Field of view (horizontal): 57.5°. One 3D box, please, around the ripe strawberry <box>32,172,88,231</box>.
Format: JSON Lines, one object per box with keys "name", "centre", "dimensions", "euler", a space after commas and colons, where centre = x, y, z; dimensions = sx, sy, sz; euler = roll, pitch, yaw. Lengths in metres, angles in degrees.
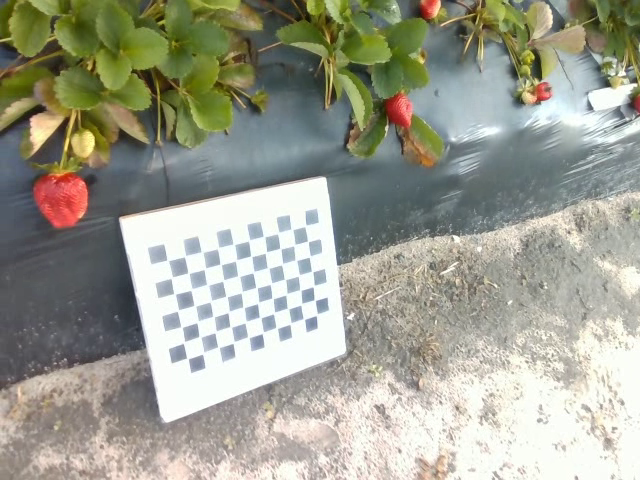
{"name": "ripe strawberry", "centre": [-0.323, -0.049, 0.728], "dimensions": [0.067, 0.075, 0.039], "euler": [-10, 11, -26]}
